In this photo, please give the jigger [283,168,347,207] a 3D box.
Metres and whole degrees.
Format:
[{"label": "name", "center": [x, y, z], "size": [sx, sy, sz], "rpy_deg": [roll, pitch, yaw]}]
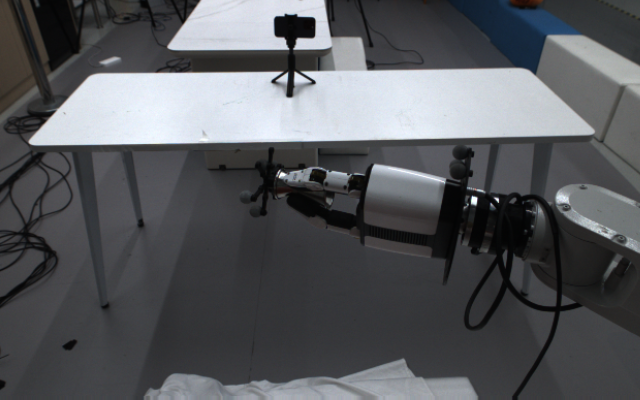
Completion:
[{"label": "jigger", "center": [-0.013, -0.019, 0.602], "size": [0.071, 0.043, 0.043], "rpy_deg": [9, 35, 16]}]
